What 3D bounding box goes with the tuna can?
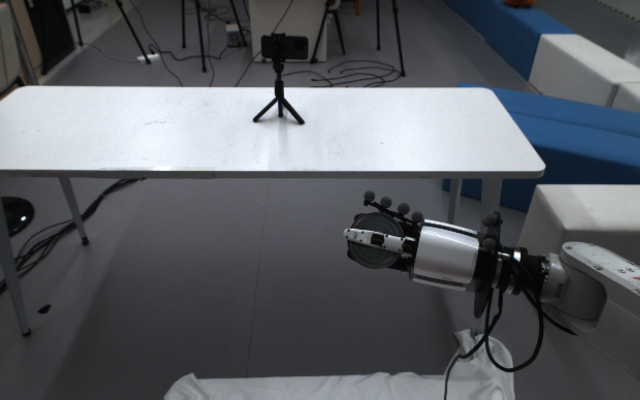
[{"bbox_3d":[0.088,0.060,0.735,0.085,0.085,0.034,14,-7,16],"label":"tuna can"}]
